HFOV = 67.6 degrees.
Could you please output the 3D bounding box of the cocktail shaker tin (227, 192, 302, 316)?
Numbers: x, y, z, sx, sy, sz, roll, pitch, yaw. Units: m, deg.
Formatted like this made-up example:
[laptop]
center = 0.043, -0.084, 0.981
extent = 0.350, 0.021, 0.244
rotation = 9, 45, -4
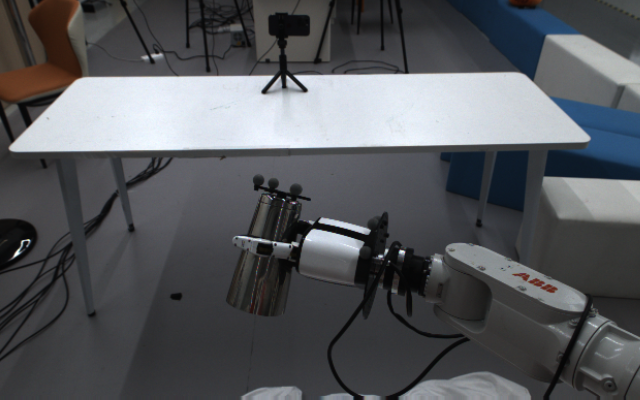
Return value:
[cocktail shaker tin]
center = -0.079, 0.079, 0.738
extent = 0.093, 0.170, 0.093
rotation = 13, 2, 0
